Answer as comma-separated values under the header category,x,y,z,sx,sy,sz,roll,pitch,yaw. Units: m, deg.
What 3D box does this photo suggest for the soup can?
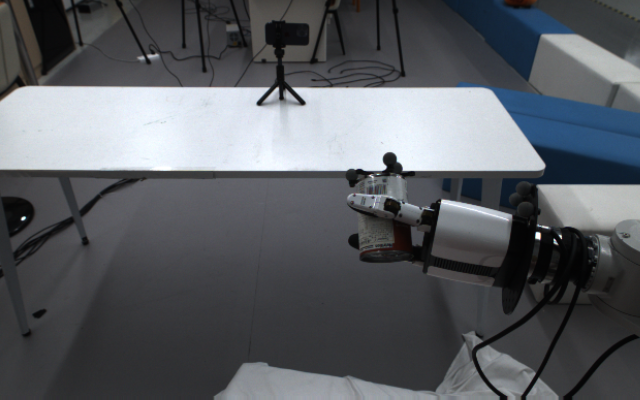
category,x,y,z,sx,sy,sz,roll,pitch,yaw
soup can,0.084,0.023,0.616,0.067,0.067,0.101,-2,71,-5
